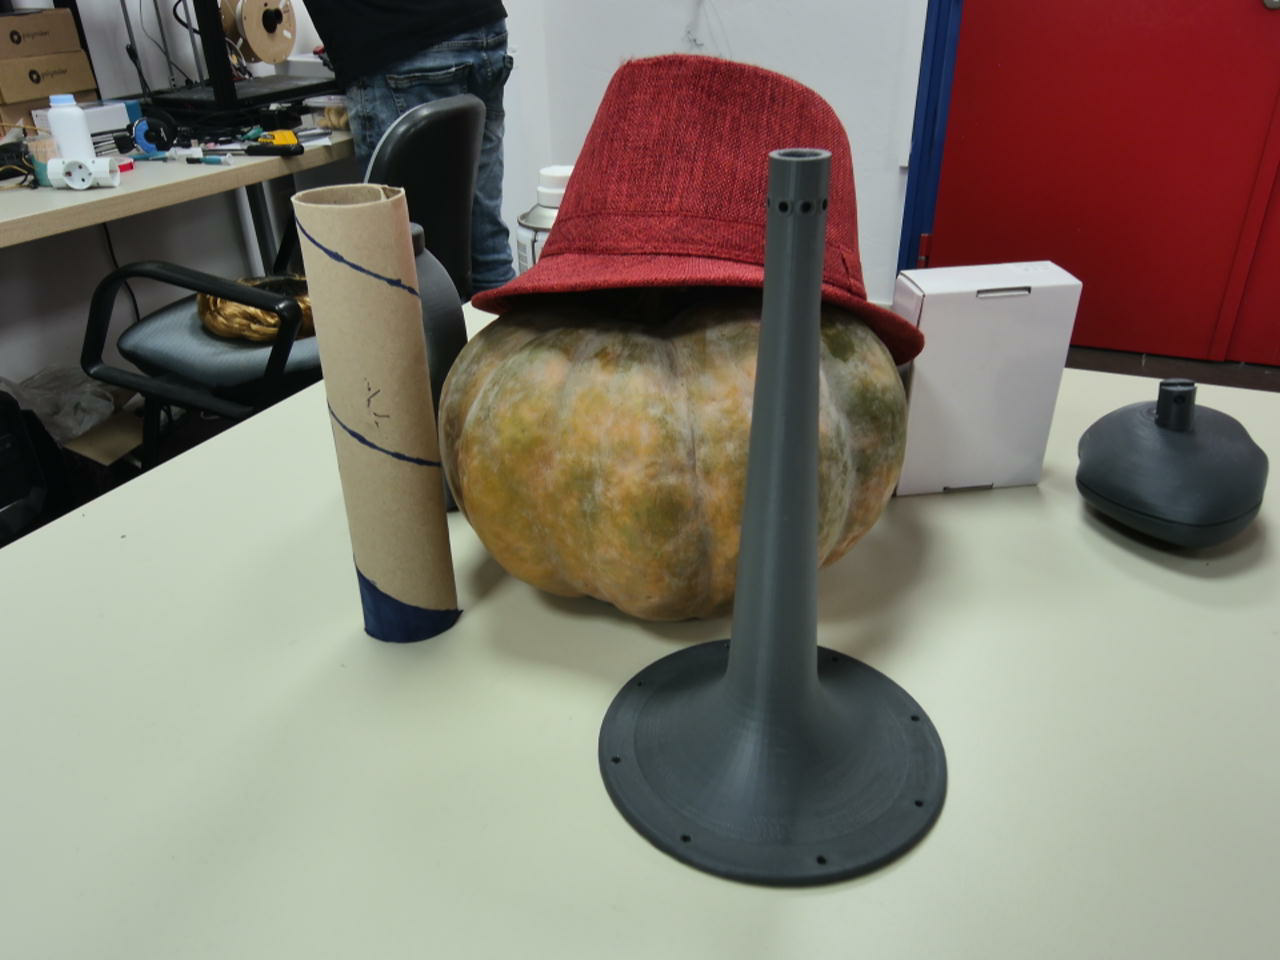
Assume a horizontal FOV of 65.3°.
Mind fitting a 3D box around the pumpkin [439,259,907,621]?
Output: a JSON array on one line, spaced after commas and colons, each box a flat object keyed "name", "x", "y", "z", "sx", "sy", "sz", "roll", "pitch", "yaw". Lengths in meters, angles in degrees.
[{"name": "pumpkin", "x": 0.013, "y": -0.029, "z": 0.544, "sx": 0.252, "sy": 0.169, "sz": 0.251, "roll": 0, "pitch": 26, "yaw": 0}]
